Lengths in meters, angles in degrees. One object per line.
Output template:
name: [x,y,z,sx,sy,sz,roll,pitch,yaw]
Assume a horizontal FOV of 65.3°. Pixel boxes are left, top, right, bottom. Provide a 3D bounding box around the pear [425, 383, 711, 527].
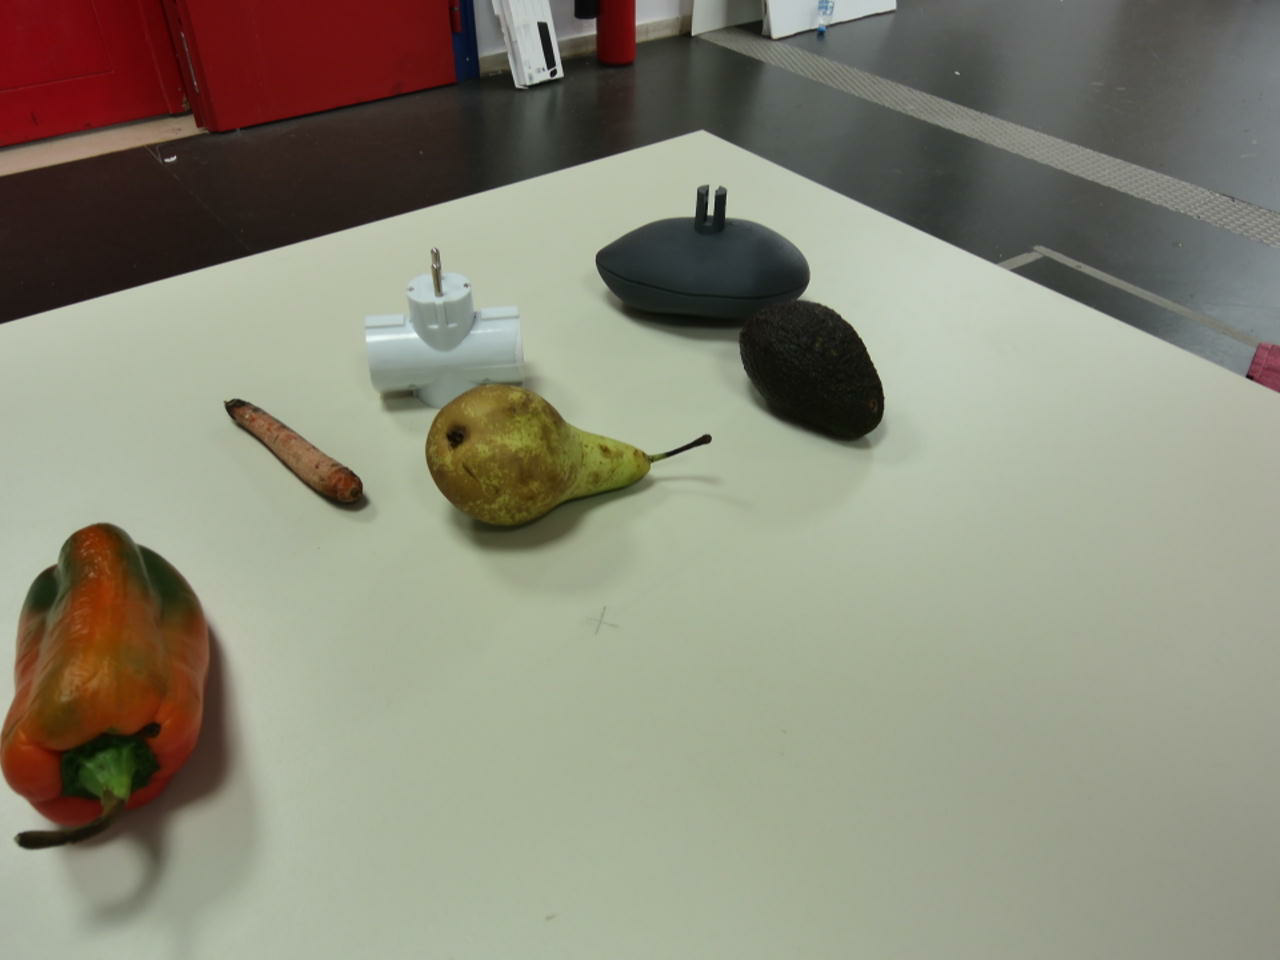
pear: [-0.041,-0.023,0.523,0.144,0.075,0.071,-20,42,-24]
